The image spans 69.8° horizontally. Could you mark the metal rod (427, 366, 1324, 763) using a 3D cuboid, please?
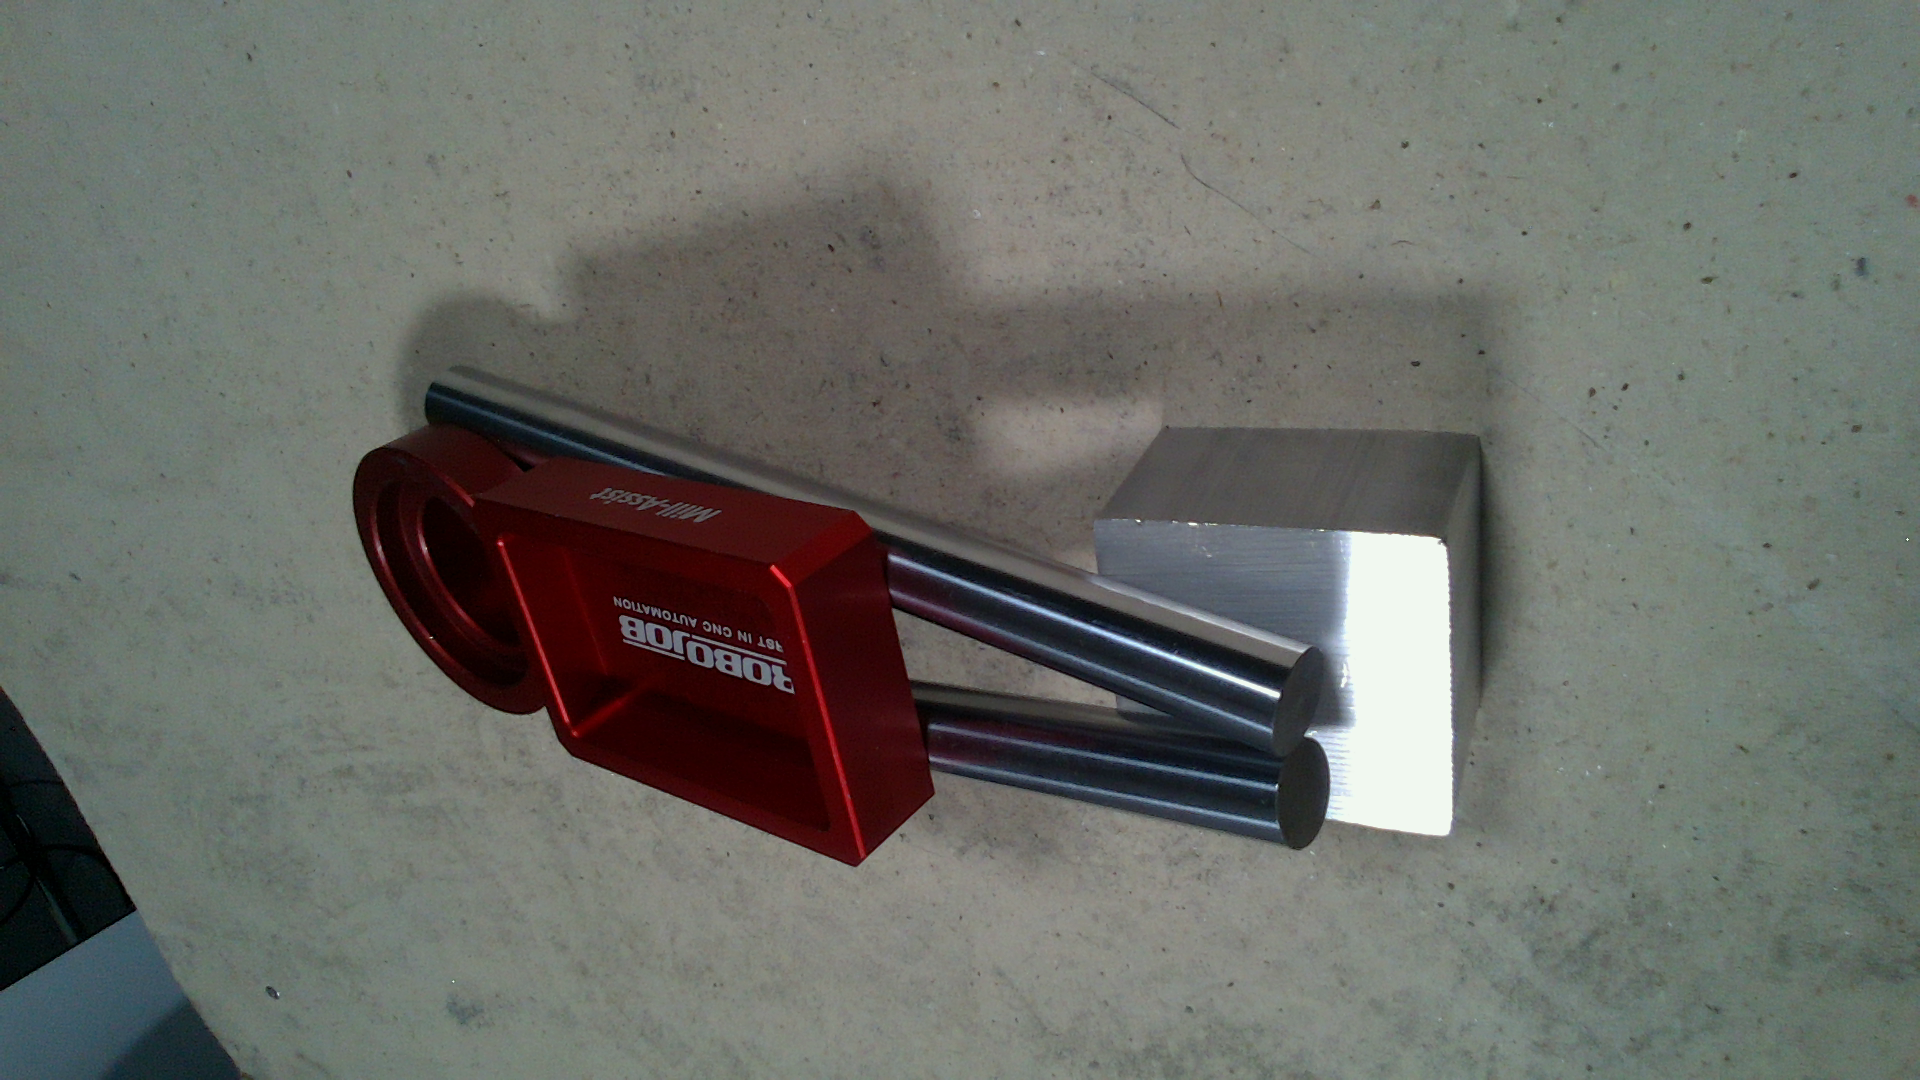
[{"bbox_3d":[-0.047,-0.005,0.373,0.299,0.025,0.025,19,127,33],"label":"metal rod"}]

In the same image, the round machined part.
[{"bbox_3d":[-0.153,0.005,0.460,0.098,0.042,0.098,21,130,28],"label":"round machined part"}]

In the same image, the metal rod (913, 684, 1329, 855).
[{"bbox_3d":[-0.036,0.051,0.402,0.299,0.025,0.025,3,121,42],"label":"metal rod"}]

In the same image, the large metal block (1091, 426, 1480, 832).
[{"bbox_3d":[0.084,0.019,0.342,0.080,0.050,0.080,4,120,26],"label":"large metal block"}]

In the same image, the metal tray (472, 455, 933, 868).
[{"bbox_3d":[-0.073,0.030,0.380,0.129,0.030,0.090,11,124,38],"label":"metal tray"}]
